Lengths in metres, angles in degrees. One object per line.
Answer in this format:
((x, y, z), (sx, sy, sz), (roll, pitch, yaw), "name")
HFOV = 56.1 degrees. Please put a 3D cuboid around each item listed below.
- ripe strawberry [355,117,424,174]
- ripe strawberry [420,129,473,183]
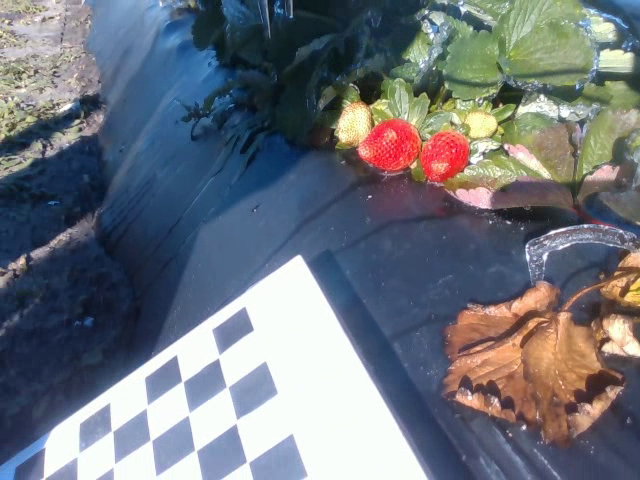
((0.042, -0.060, 0.393), (0.036, 0.039, 0.051), (3, 15, 41), "ripe strawberry")
((0.081, -0.054, 0.383), (0.036, 0.030, 0.041), (-19, 36, 24), "ripe strawberry")
